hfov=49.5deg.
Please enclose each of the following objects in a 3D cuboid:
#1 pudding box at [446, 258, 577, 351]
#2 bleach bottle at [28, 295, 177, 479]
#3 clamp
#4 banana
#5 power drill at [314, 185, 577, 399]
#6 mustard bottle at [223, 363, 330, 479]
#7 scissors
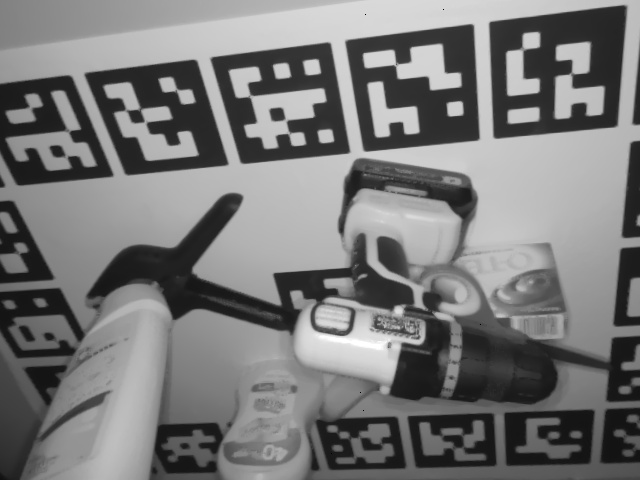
[{"bbox_3d":[0.173,0.059,0.639,0.113,0.091,0.038,0,131,8],"label":"pudding box"},{"bbox_3d":[-0.182,0.134,0.616,0.102,0.252,0.068,-24,123,14],"label":"bleach bottle"},{"bbox_3d":[-0.138,0.059,0.688,0.201,0.037,0.165,-9,121,14],"label":"clamp"},{"bbox_3d":[0.068,0.180,0.759,0.075,0.039,0.194,28,124,-33],"label":"banana"},{"bbox_3d":[0.093,0.038,0.539,0.185,0.189,0.057,6,132,0],"label":"power drill"},{"bbox_3d":[-0.048,0.214,0.714,0.096,0.193,0.058,8,126,3],"label":"mustard bottle"},{"bbox_3d":[0.176,0.101,0.589,0.203,0.016,0.086,19,120,-1],"label":"scissors"}]
